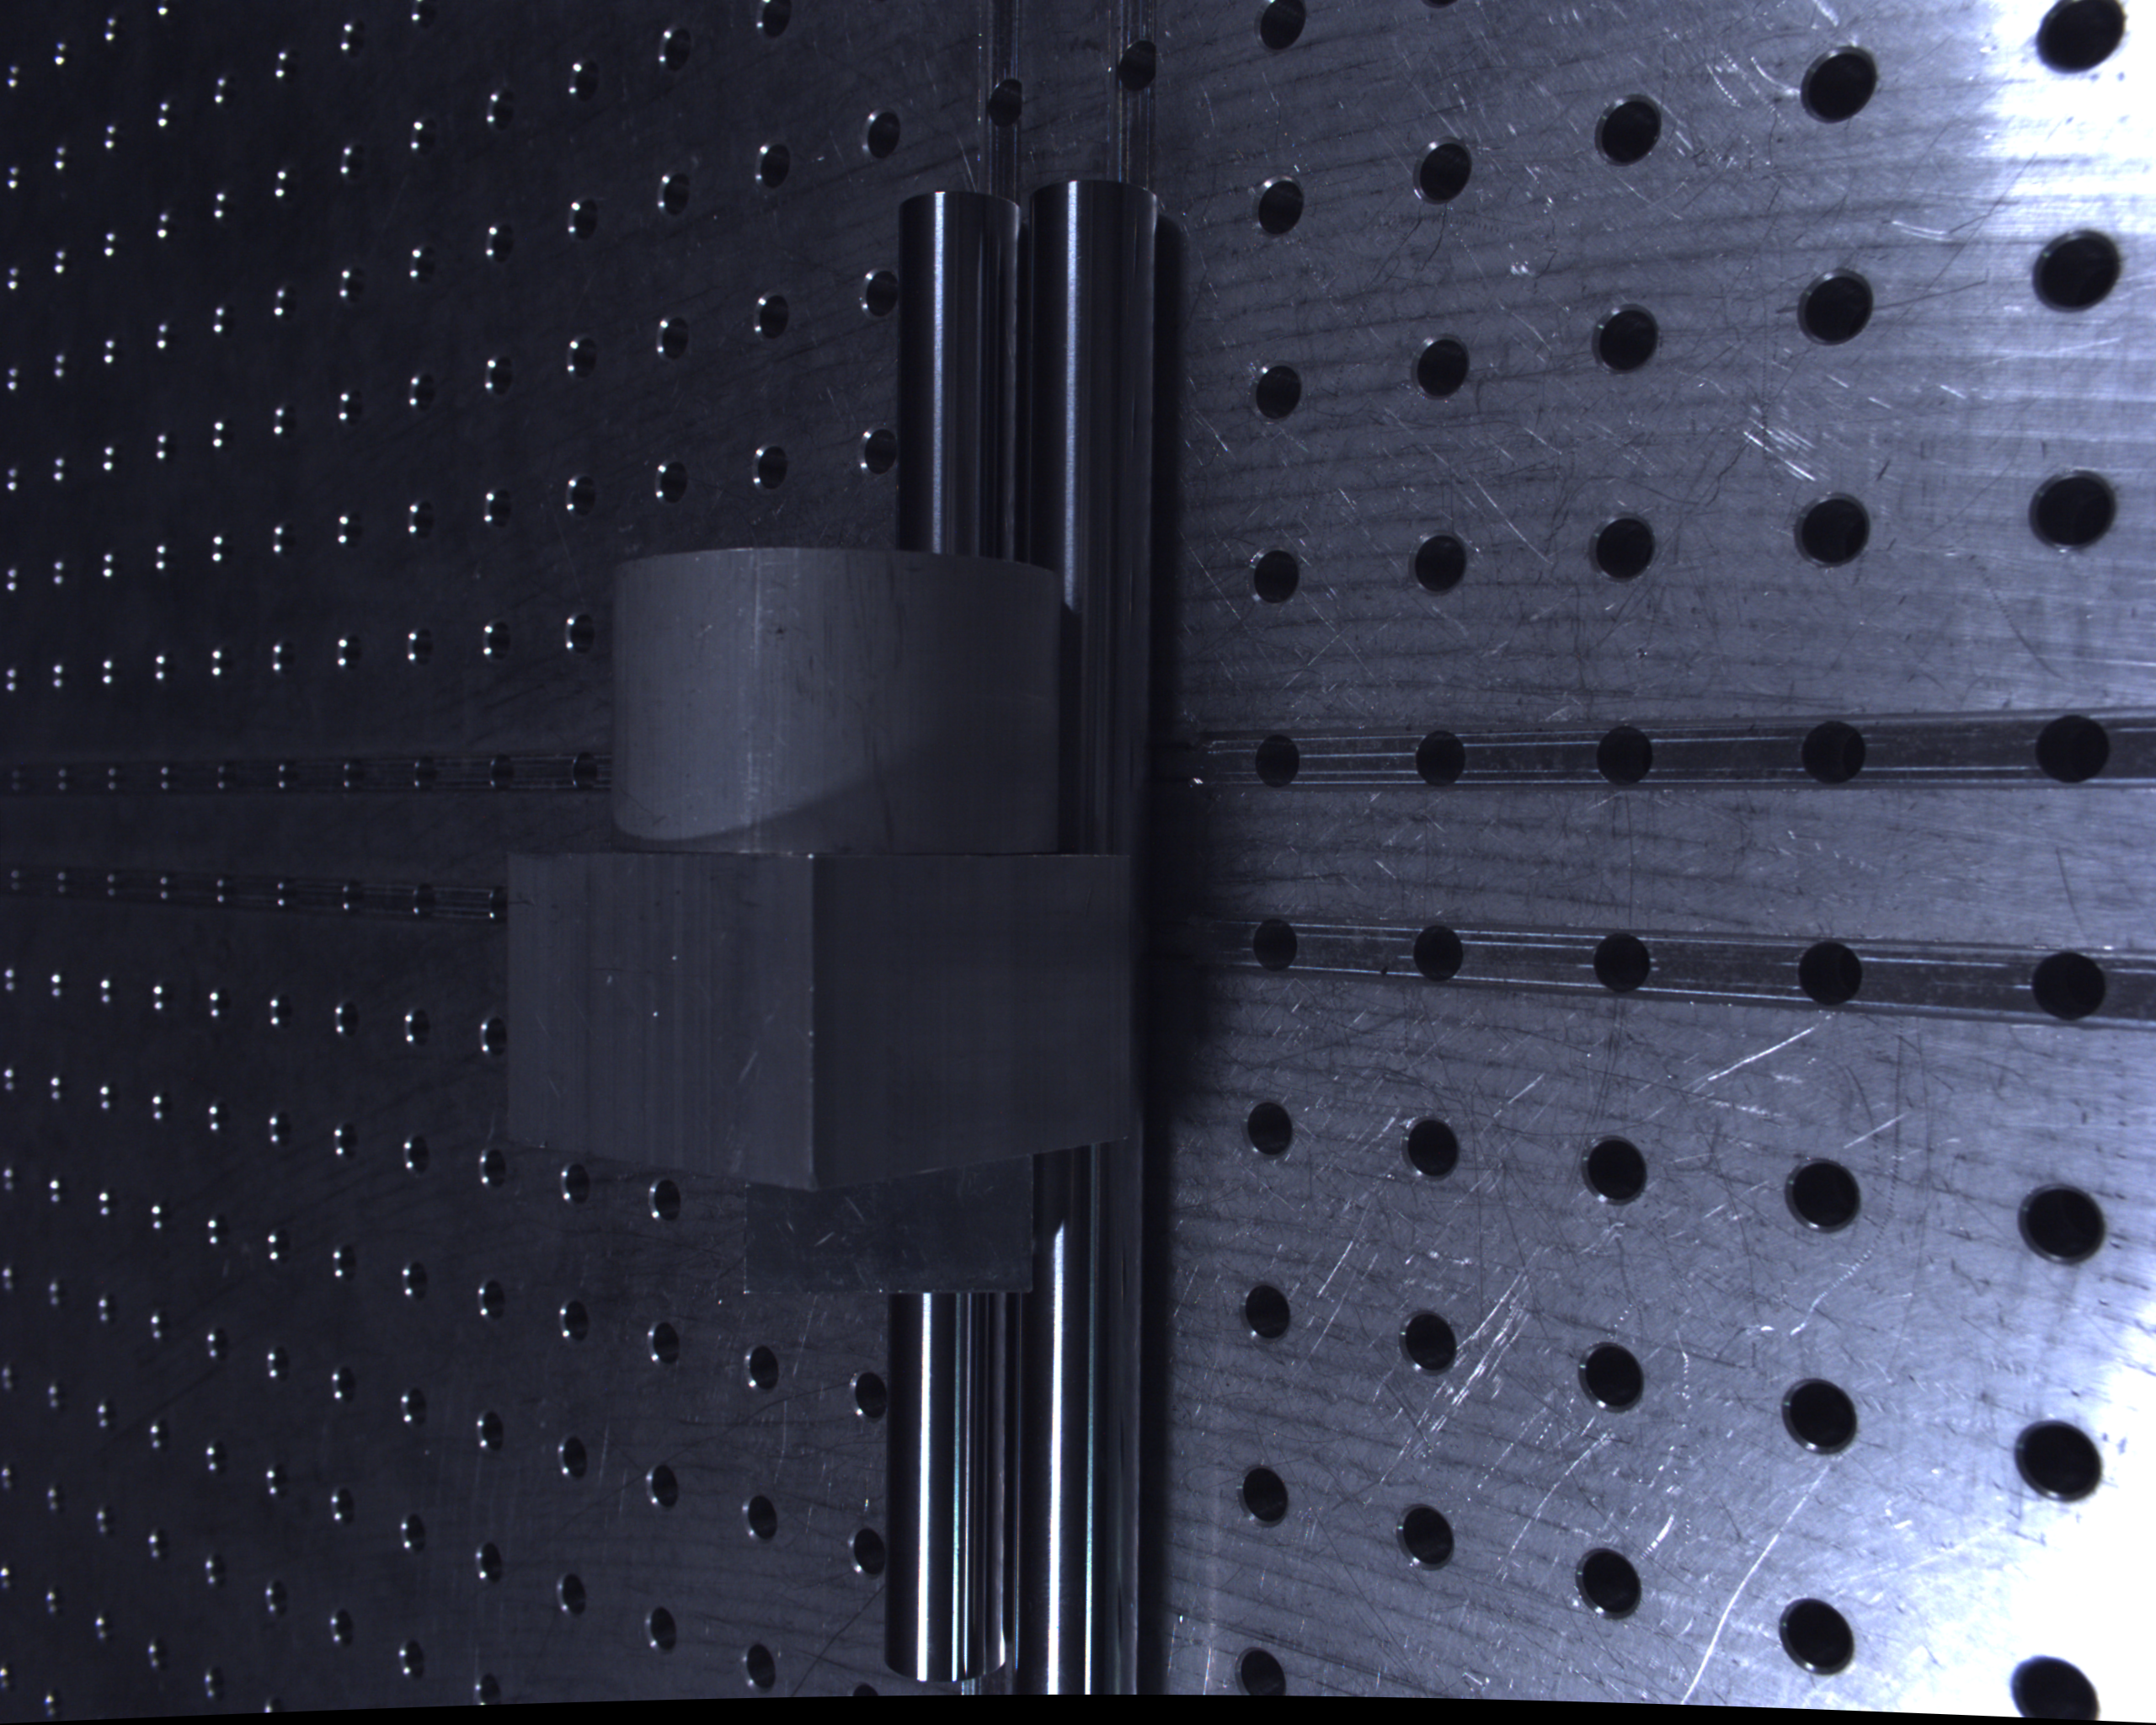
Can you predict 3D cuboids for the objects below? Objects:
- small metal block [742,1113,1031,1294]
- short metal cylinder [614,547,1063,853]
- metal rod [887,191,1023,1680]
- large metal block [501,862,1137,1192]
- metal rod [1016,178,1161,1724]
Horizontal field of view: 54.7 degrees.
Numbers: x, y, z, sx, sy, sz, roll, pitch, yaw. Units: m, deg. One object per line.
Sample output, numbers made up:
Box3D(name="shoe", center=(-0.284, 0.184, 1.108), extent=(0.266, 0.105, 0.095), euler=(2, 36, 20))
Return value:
Box3D(name="small metal block", center=(-0.036, 0.063, 0.391), extent=(0.050, 0.050, 0.025), euler=(1, 91, -5))
Box3D(name="short metal cylinder", center=(-0.043, -0.027, 0.379), extent=(0.080, 0.081, 0.050), euler=(1, 91, 39))
Box3D(name="metal rod", center=(-0.025, 0.015, 0.430), extent=(0.025, 0.025, 0.298), euler=(1, 91, 39))
Box3D(name="large metal block", center=(-0.046, 0.025, 0.377), extent=(0.080, 0.081, 0.050), euler=(1, 91, 39))
Box3D(name="metal rod", center=(0.002, 0.020, 0.407), extent=(0.025, 0.025, 0.298), euler=(1, 91, 39))
